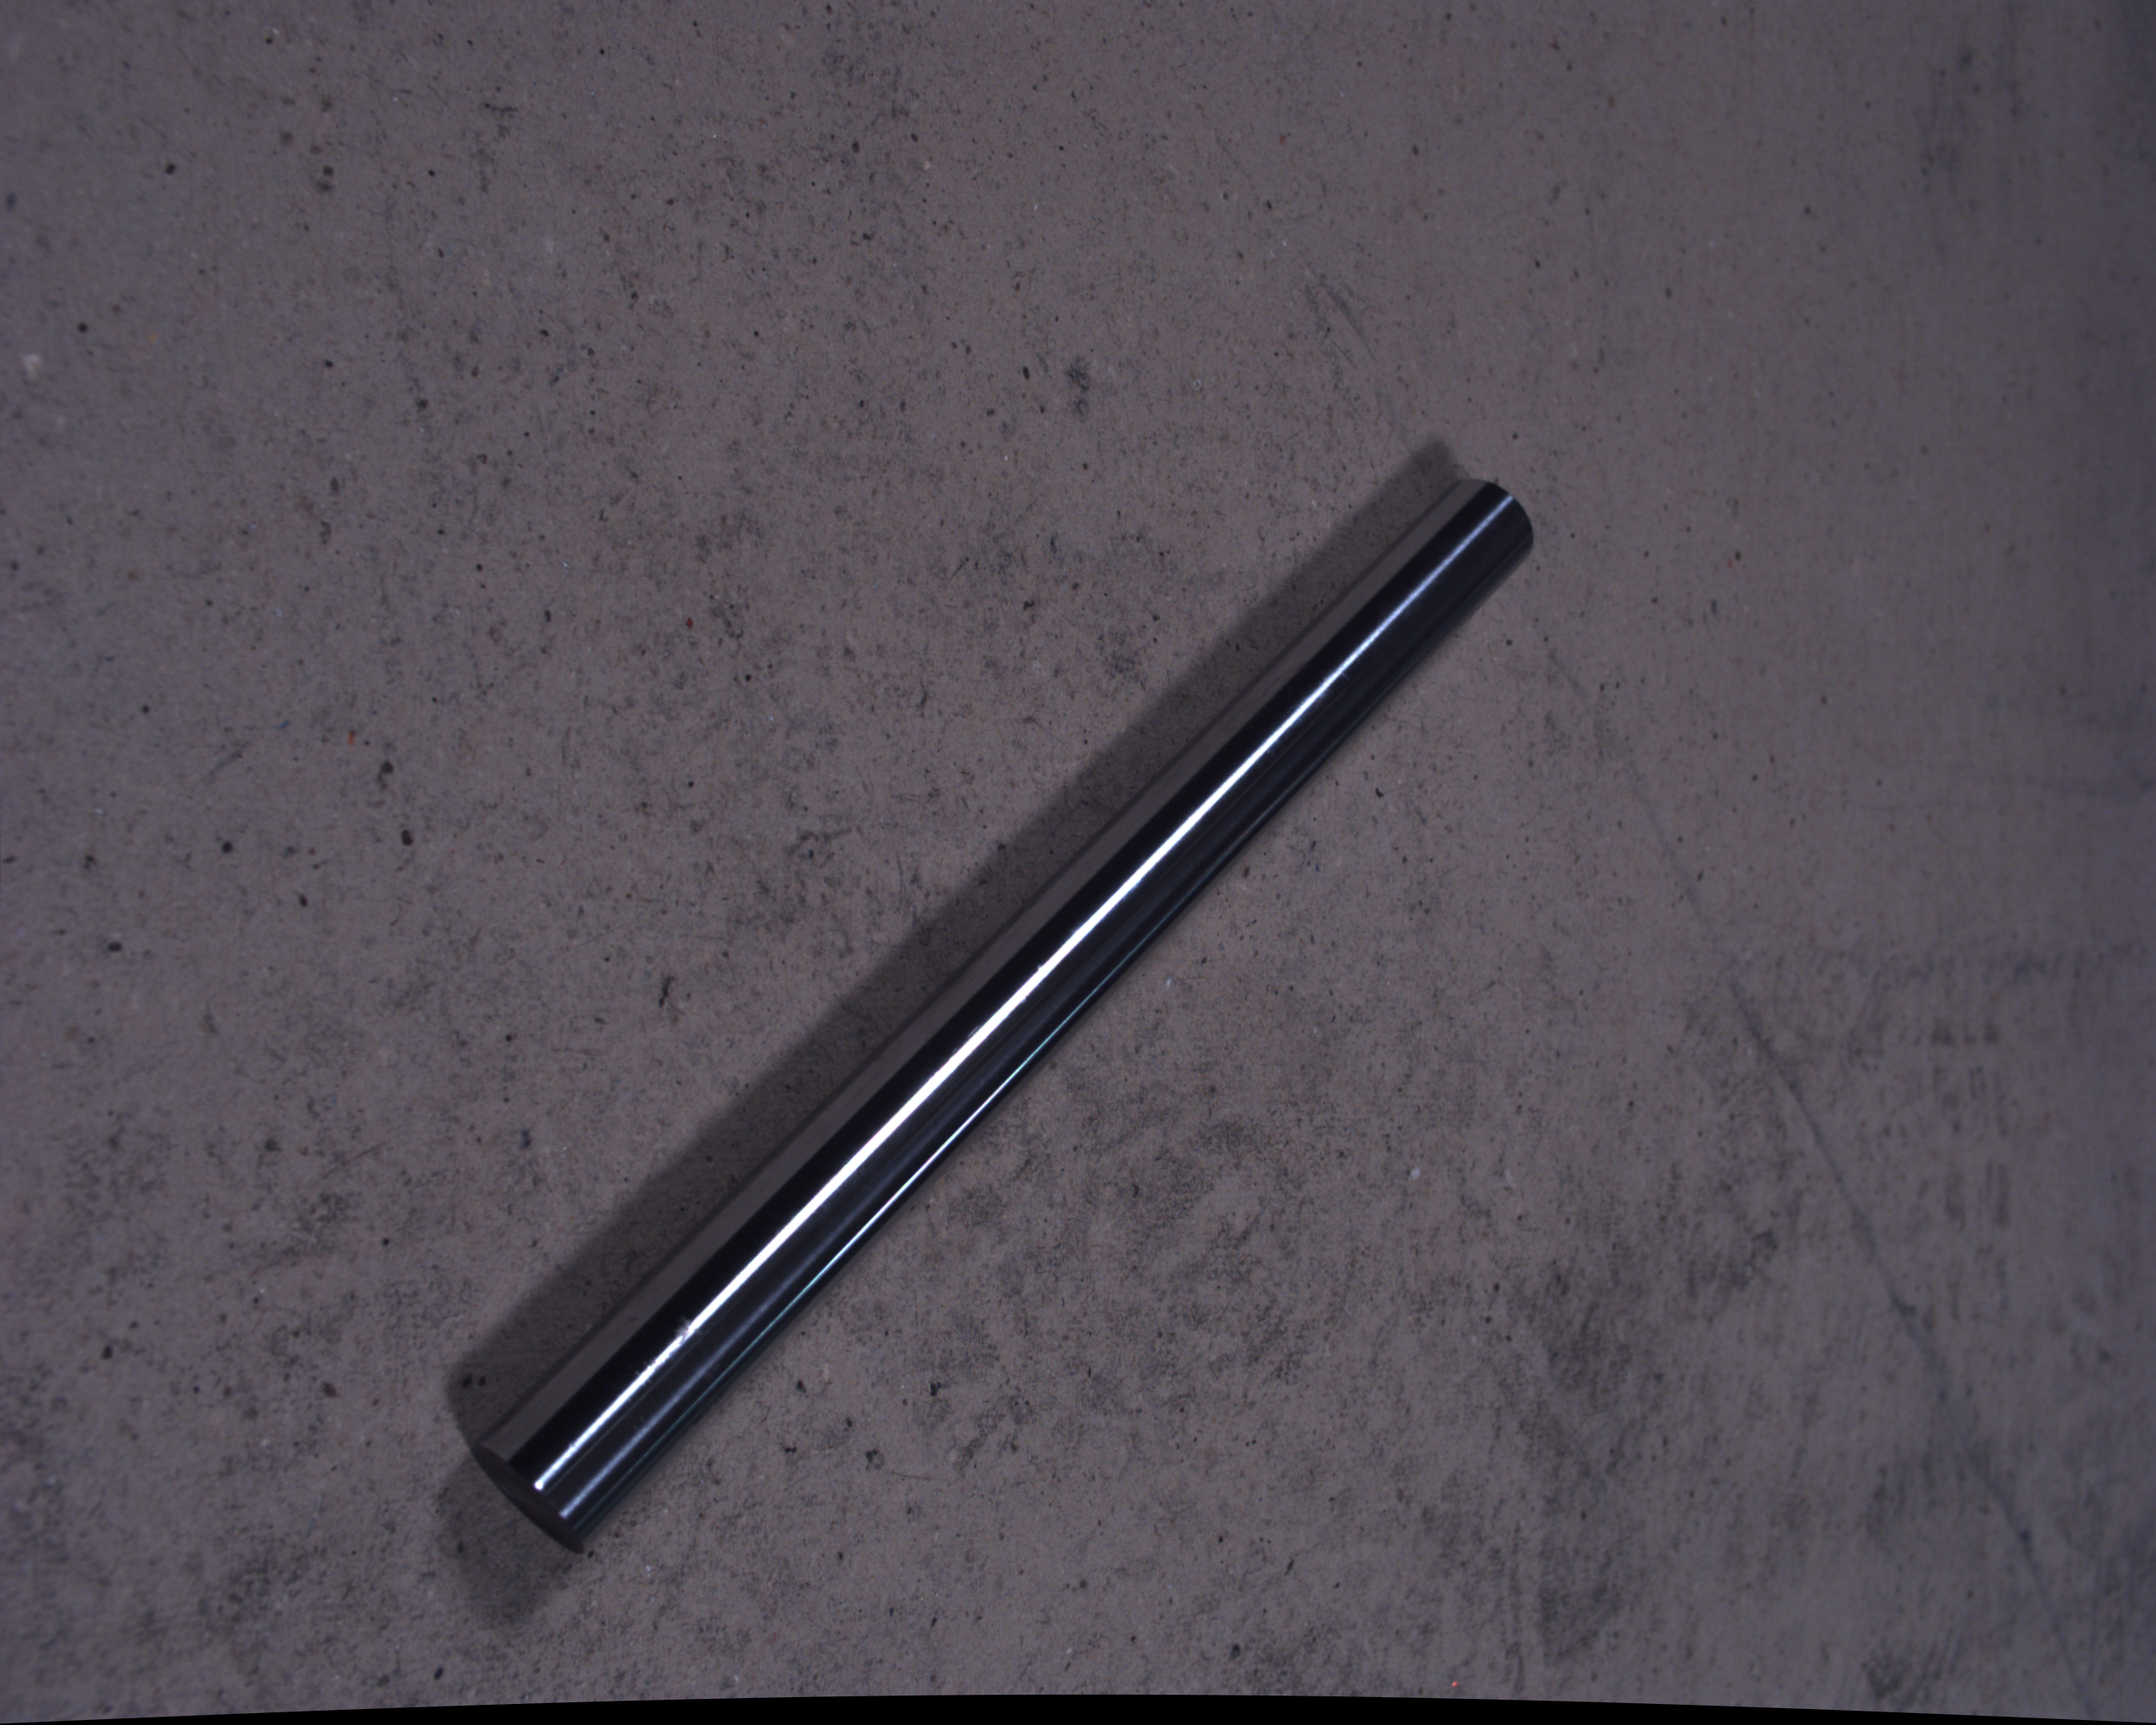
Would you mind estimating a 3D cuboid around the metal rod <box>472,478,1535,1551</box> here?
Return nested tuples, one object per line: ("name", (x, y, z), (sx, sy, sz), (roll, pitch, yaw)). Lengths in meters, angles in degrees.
("metal rod", (0.004, 0.011, 0.412), (0.301, 0.025, 0.025), (-44, 117, -31))
